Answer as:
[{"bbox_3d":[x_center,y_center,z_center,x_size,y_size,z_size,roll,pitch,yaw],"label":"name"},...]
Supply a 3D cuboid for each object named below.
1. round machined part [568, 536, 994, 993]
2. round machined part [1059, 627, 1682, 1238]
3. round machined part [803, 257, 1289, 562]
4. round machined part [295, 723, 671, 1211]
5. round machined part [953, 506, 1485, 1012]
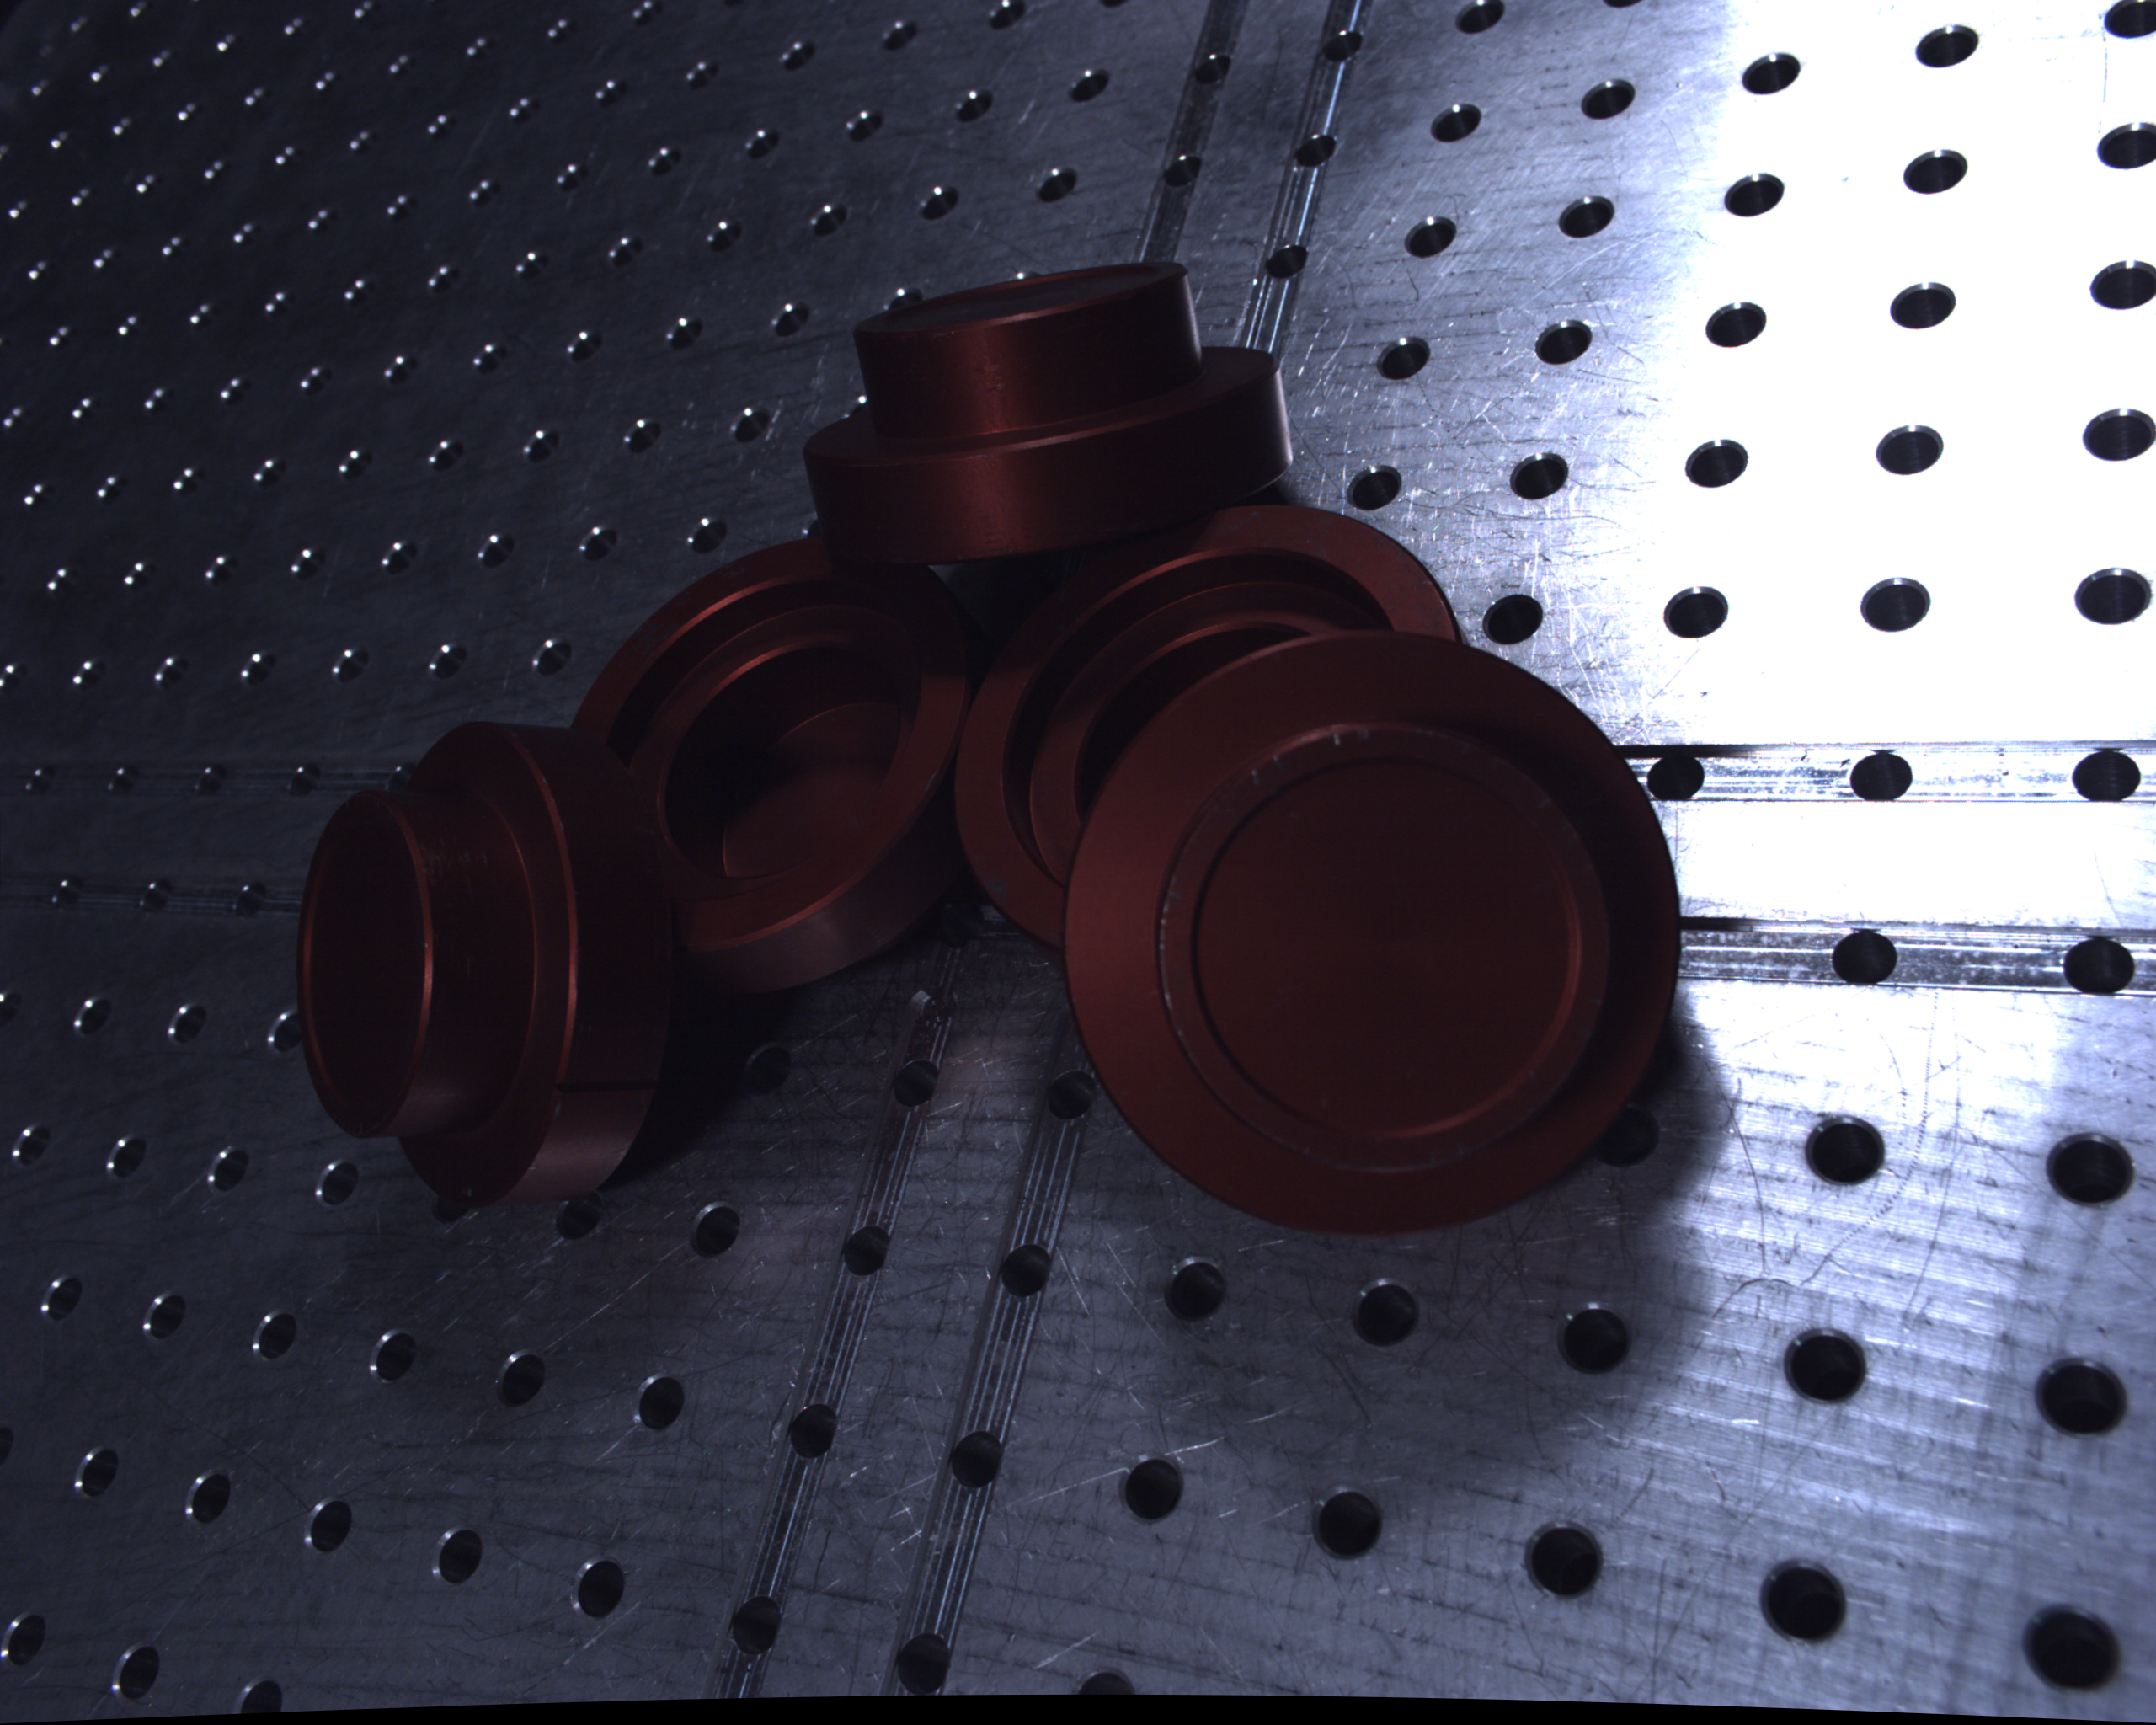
[{"bbox_3d":[-0.058,-0.017,0.435,0.098,0.042,0.098,-13,56,20],"label":"round machined part"},{"bbox_3d":[0.046,0.011,0.331,0.099,0.042,0.097,0,91,3],"label":"round machined part"},{"bbox_3d":[-0.008,-0.096,0.426,0.099,0.042,0.098,-10,21,4],"label":"round machined part"},{"bbox_3d":[-0.124,0.021,0.418,0.098,0.042,0.097,-3,86,50],"label":"round machined part"},{"bbox_3d":[0.030,-0.015,0.390,0.098,0.042,0.098,-13,56,20],"label":"round machined part"}]
